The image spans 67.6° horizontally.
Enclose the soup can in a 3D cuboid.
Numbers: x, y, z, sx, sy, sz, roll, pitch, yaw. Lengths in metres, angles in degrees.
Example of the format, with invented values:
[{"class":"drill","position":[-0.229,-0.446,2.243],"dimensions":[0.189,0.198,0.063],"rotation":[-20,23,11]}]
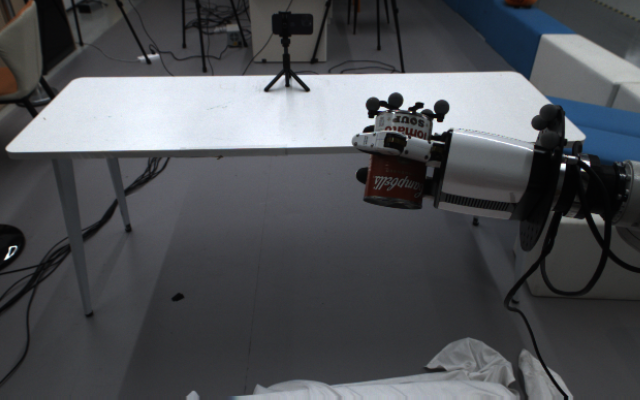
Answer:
[{"class":"soup can","position":[0.092,-0.044,0.555],"dimensions":[0.067,0.101,0.067],"rotation":[9,-6,1]}]
